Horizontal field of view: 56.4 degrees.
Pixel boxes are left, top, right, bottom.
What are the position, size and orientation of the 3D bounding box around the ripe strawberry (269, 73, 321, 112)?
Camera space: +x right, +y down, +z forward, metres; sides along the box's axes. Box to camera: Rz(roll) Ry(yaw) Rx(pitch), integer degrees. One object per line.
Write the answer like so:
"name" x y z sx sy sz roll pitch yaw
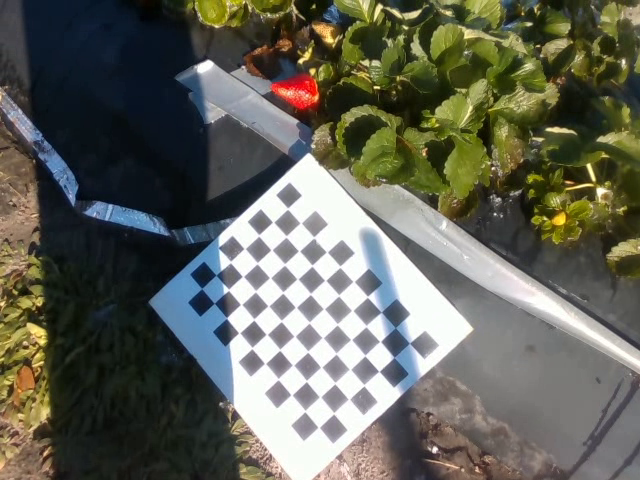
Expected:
"ripe strawberry" -0.037 -0.195 0.792 0.065 0.062 0.057 -6 -6 -39
